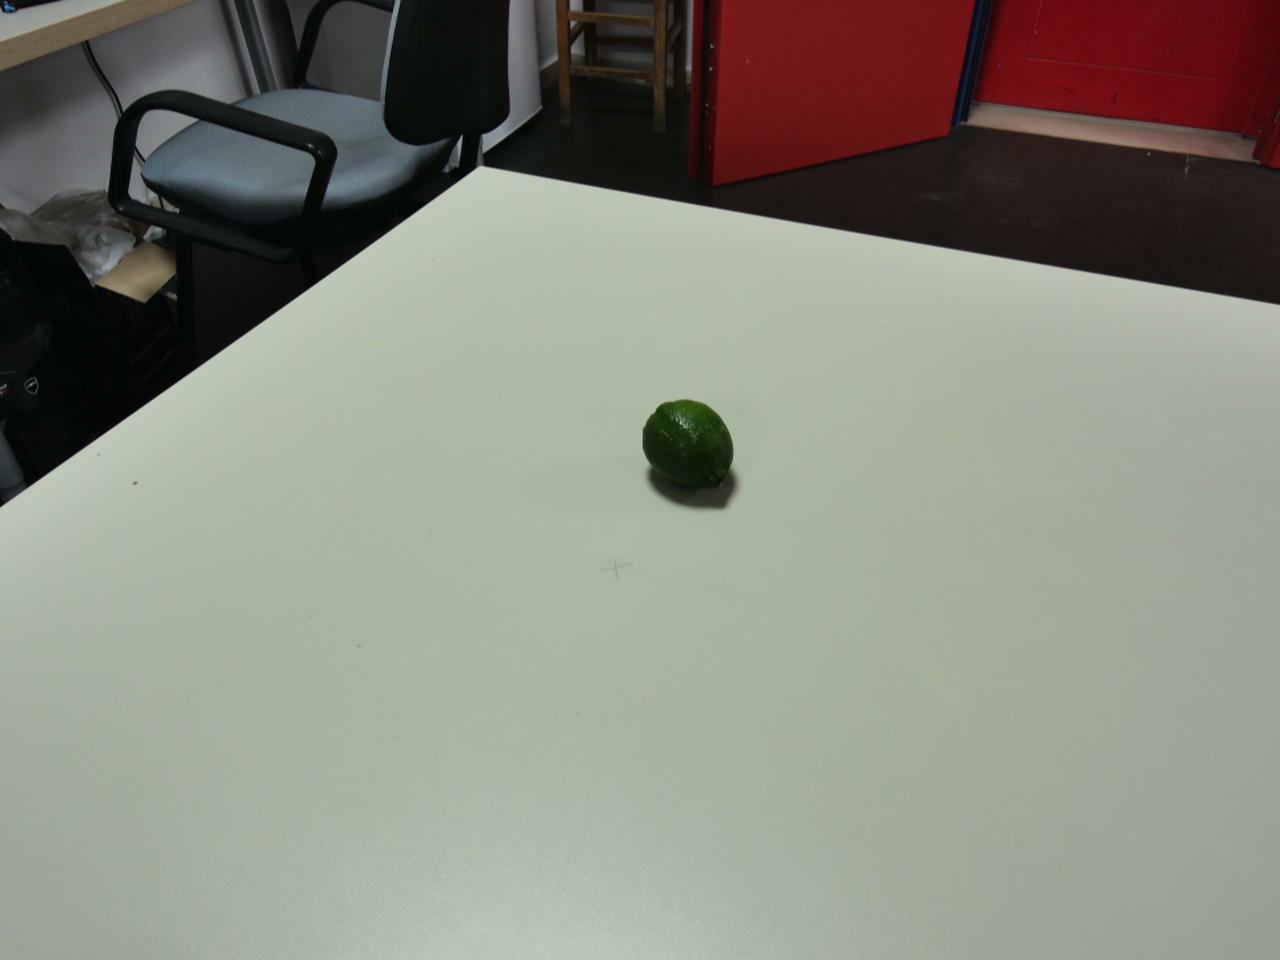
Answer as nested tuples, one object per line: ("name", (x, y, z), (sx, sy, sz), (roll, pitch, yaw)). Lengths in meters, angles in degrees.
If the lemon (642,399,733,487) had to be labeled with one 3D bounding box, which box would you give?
("lemon", (0.029, -0.023, 0.611), (0.057, 0.051, 0.054), (14, 41, 16))
